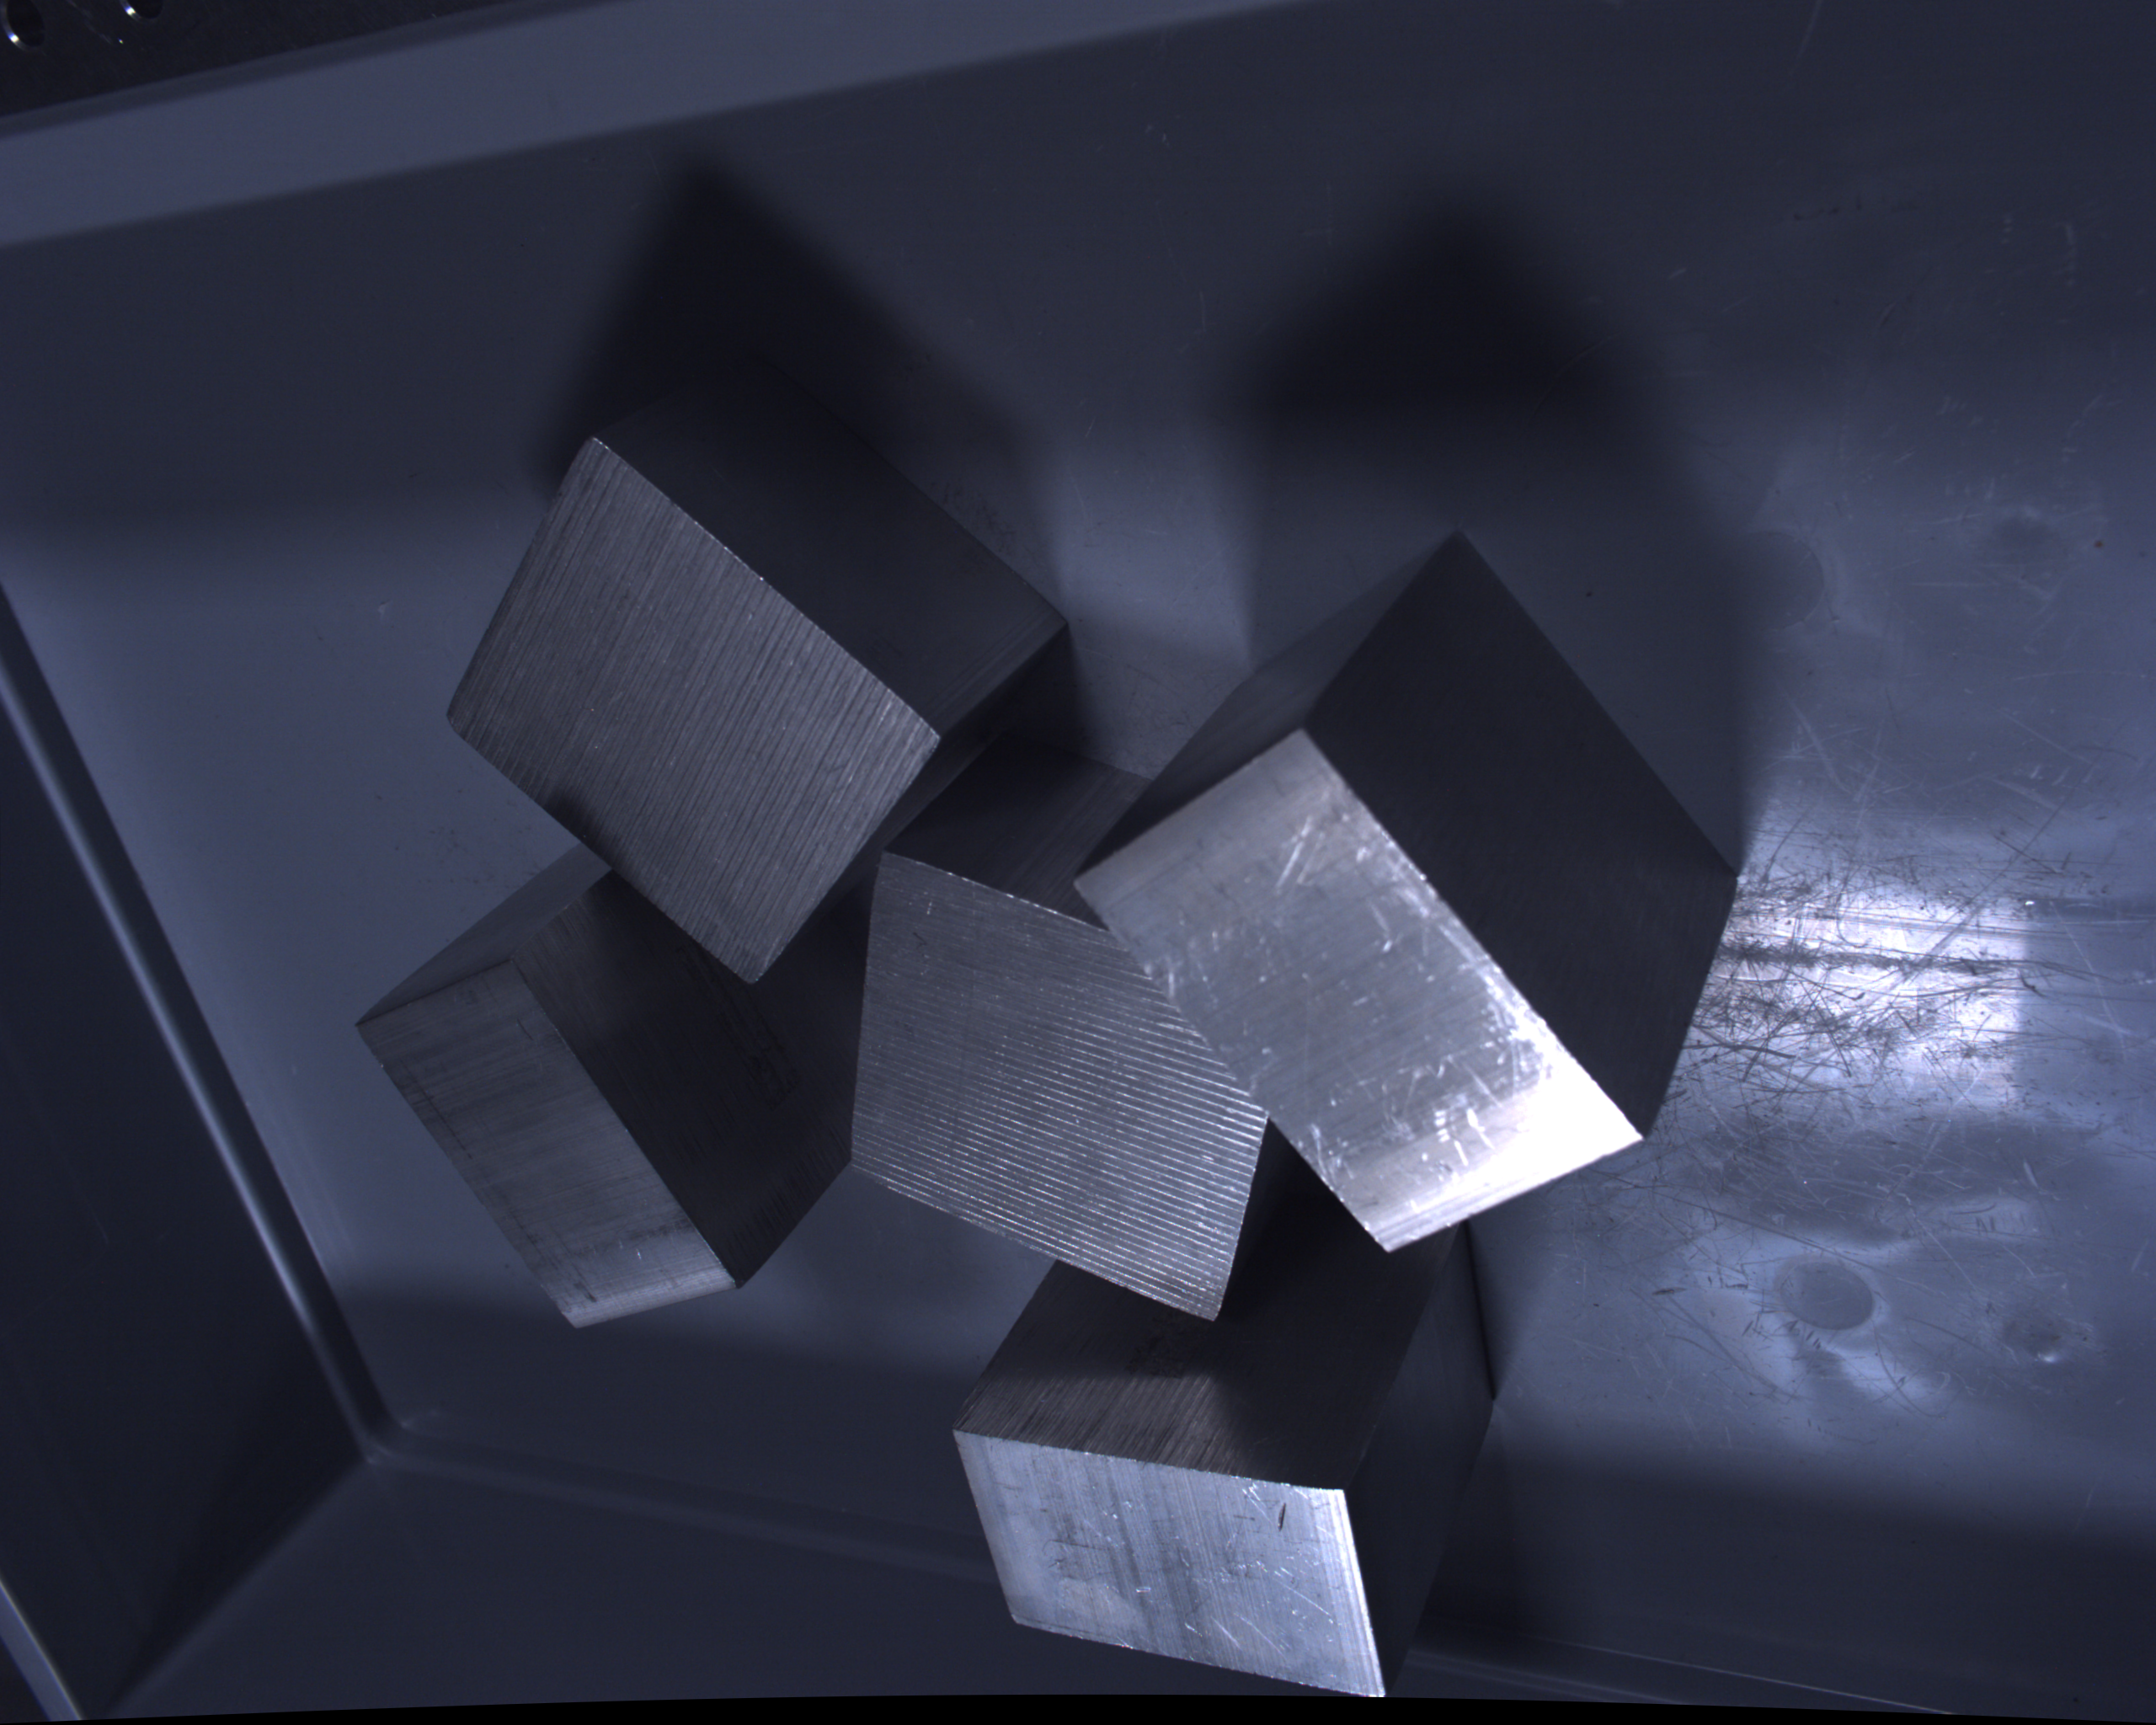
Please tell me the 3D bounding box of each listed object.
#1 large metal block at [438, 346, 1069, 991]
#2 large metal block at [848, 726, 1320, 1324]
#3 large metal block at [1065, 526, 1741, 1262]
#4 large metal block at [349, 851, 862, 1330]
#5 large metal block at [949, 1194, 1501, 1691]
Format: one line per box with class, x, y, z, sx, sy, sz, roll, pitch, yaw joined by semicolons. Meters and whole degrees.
large metal block;-0.063;-0.036;0.399;0.080;0.050;0.080;41;129;0
large metal block;0.006;0.031;0.405;0.080;0.050;0.079;20;126;15
large metal block;0.057;0.003;0.342;0.080;0.080;0.050;49;128;-7
large metal block;-0.089;0.038;0.440;0.050;0.080;0.080;-20;108;35
large metal block;0.033;0.111;0.422;0.080;0.080;0.050;1;119;27
